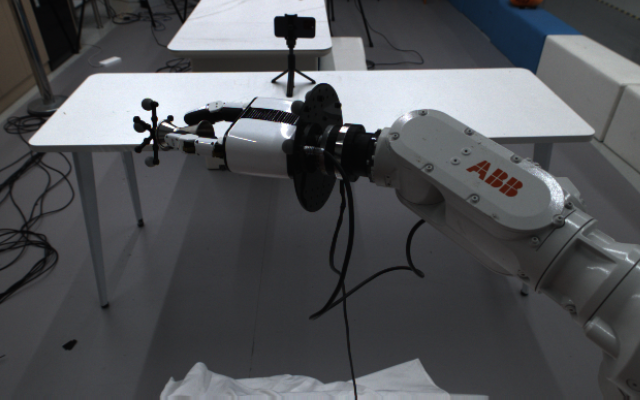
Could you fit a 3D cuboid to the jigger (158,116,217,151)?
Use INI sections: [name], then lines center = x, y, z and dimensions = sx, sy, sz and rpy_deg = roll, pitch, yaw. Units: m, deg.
[jigger]
center = -0.181, -0.092, 0.669
dimensions = 0.071, 0.043, 0.043
rpy_deg = 6, 34, 20
